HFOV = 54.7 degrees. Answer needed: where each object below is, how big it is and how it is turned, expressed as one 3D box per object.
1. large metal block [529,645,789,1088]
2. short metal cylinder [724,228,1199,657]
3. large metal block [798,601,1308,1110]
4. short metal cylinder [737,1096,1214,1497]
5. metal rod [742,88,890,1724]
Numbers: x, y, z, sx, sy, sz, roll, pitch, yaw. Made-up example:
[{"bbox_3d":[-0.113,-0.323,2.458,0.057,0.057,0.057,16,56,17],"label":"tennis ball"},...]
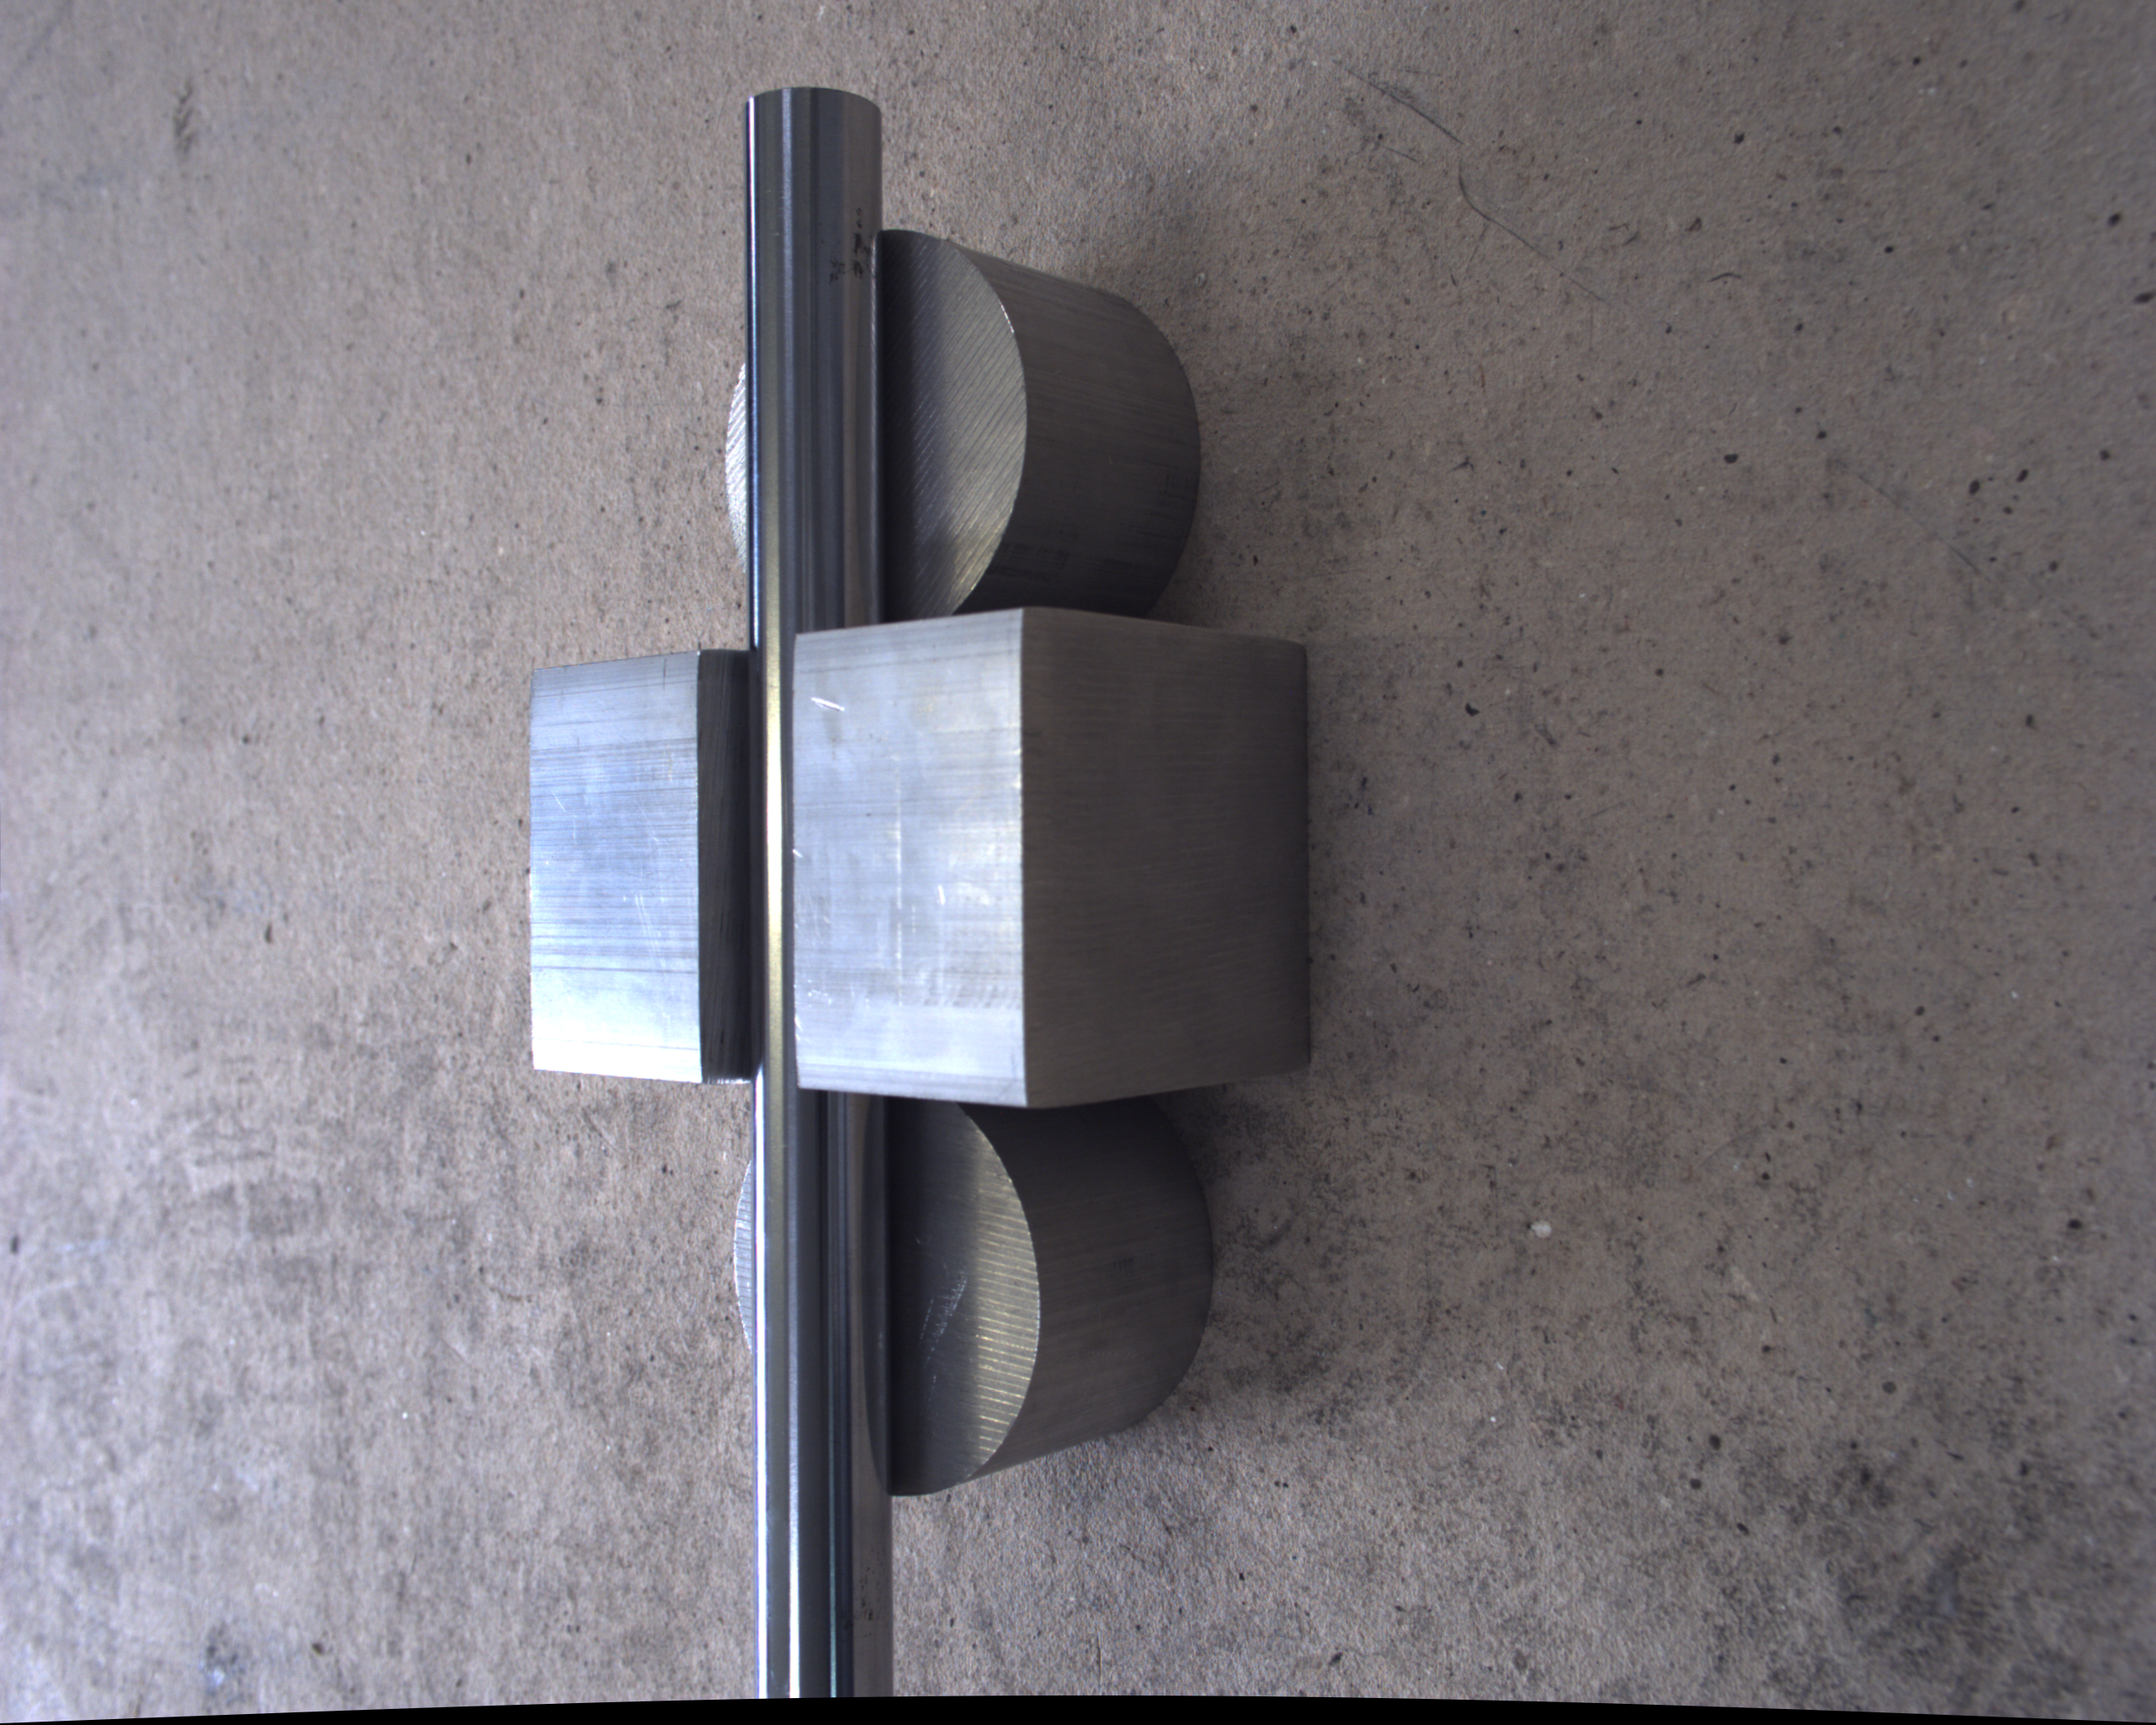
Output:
[{"bbox_3d":[-0.062,0.001,0.421,0.050,0.081,0.080,-1,89,40],"label":"large metal block"},{"bbox_3d":[-0.024,-0.078,0.409,0.080,0.050,0.080,0,89,40],"label":"short metal cylinder"},{"bbox_3d":[-0.003,-0.001,0.373,0.050,0.081,0.080,-1,89,40],"label":"large metal block"},{"bbox_3d":[-0.021,0.078,0.408,0.080,0.050,0.080,0,89,40],"label":"short metal cylinder"},{"bbox_3d":[-0.048,0.012,0.380,0.025,0.025,0.298,-1,89,40],"label":"metal rod"}]
